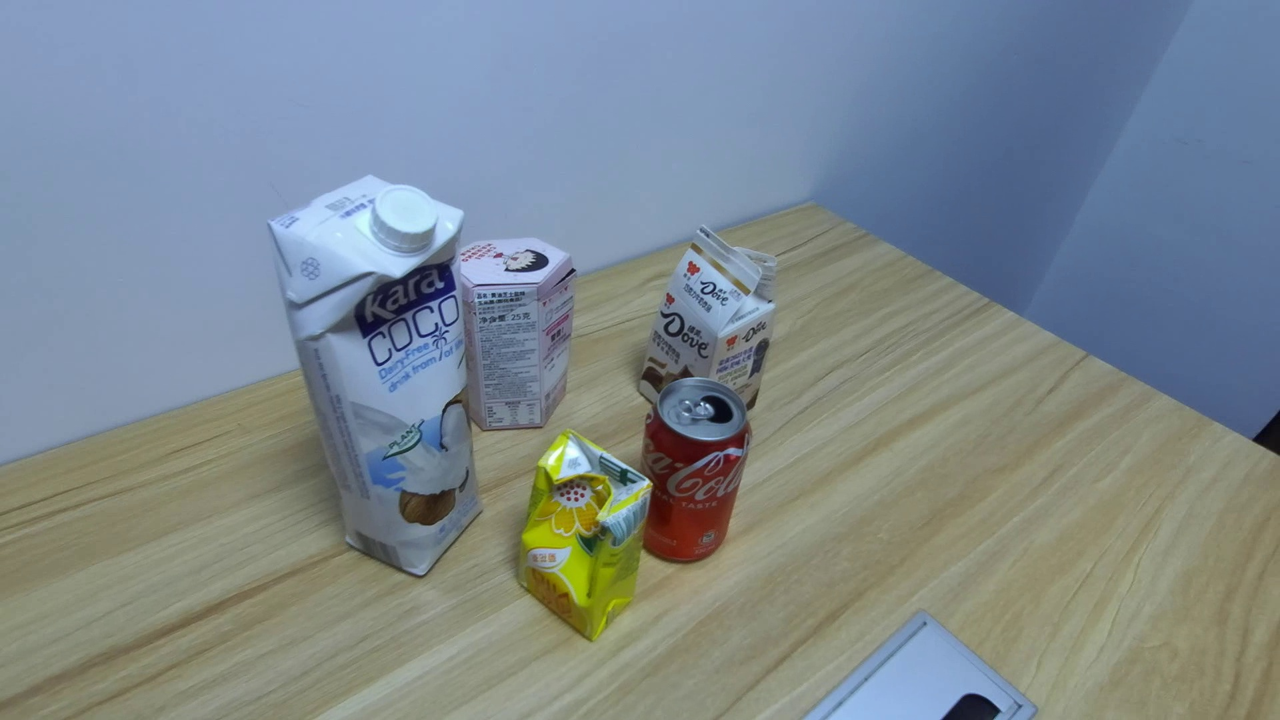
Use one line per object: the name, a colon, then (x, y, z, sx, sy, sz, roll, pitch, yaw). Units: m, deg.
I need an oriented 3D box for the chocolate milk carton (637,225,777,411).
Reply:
chocolate milk carton: (0.054, -0.027, 0.550, 0.073, 0.155, 0.084, -25, 48, -34)

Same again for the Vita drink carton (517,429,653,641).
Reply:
Vita drink carton: (-0.036, 0.105, 0.417, 0.071, 0.110, 0.046, 29, 42, 27)

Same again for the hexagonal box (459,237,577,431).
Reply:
hexagonal box: (-0.099, -0.020, 0.541, 0.085, 0.135, 0.092, 17, 40, 14)

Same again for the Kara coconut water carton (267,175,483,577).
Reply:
Kara coconut water carton: (-0.139, 0.014, 0.405, 0.071, 0.244, 0.100, 19, 41, 16)

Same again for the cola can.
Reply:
cola can: (0.033, 0.072, 0.458, 0.068, 0.120, 0.067, 5, 39, -3)
